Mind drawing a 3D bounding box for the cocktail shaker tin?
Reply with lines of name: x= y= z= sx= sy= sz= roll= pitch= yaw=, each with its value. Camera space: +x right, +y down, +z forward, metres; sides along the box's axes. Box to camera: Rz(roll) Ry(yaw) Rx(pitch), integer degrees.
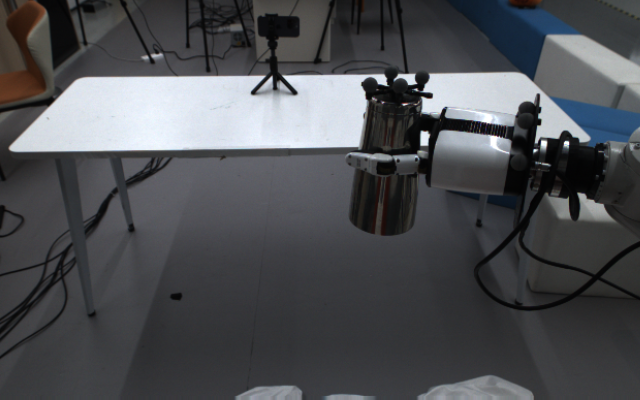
cocktail shaker tin: x=0.090 y=-0.051 z=0.624 sx=0.093 sy=0.170 sz=0.093 roll=2 pitch=30 yaw=-1
